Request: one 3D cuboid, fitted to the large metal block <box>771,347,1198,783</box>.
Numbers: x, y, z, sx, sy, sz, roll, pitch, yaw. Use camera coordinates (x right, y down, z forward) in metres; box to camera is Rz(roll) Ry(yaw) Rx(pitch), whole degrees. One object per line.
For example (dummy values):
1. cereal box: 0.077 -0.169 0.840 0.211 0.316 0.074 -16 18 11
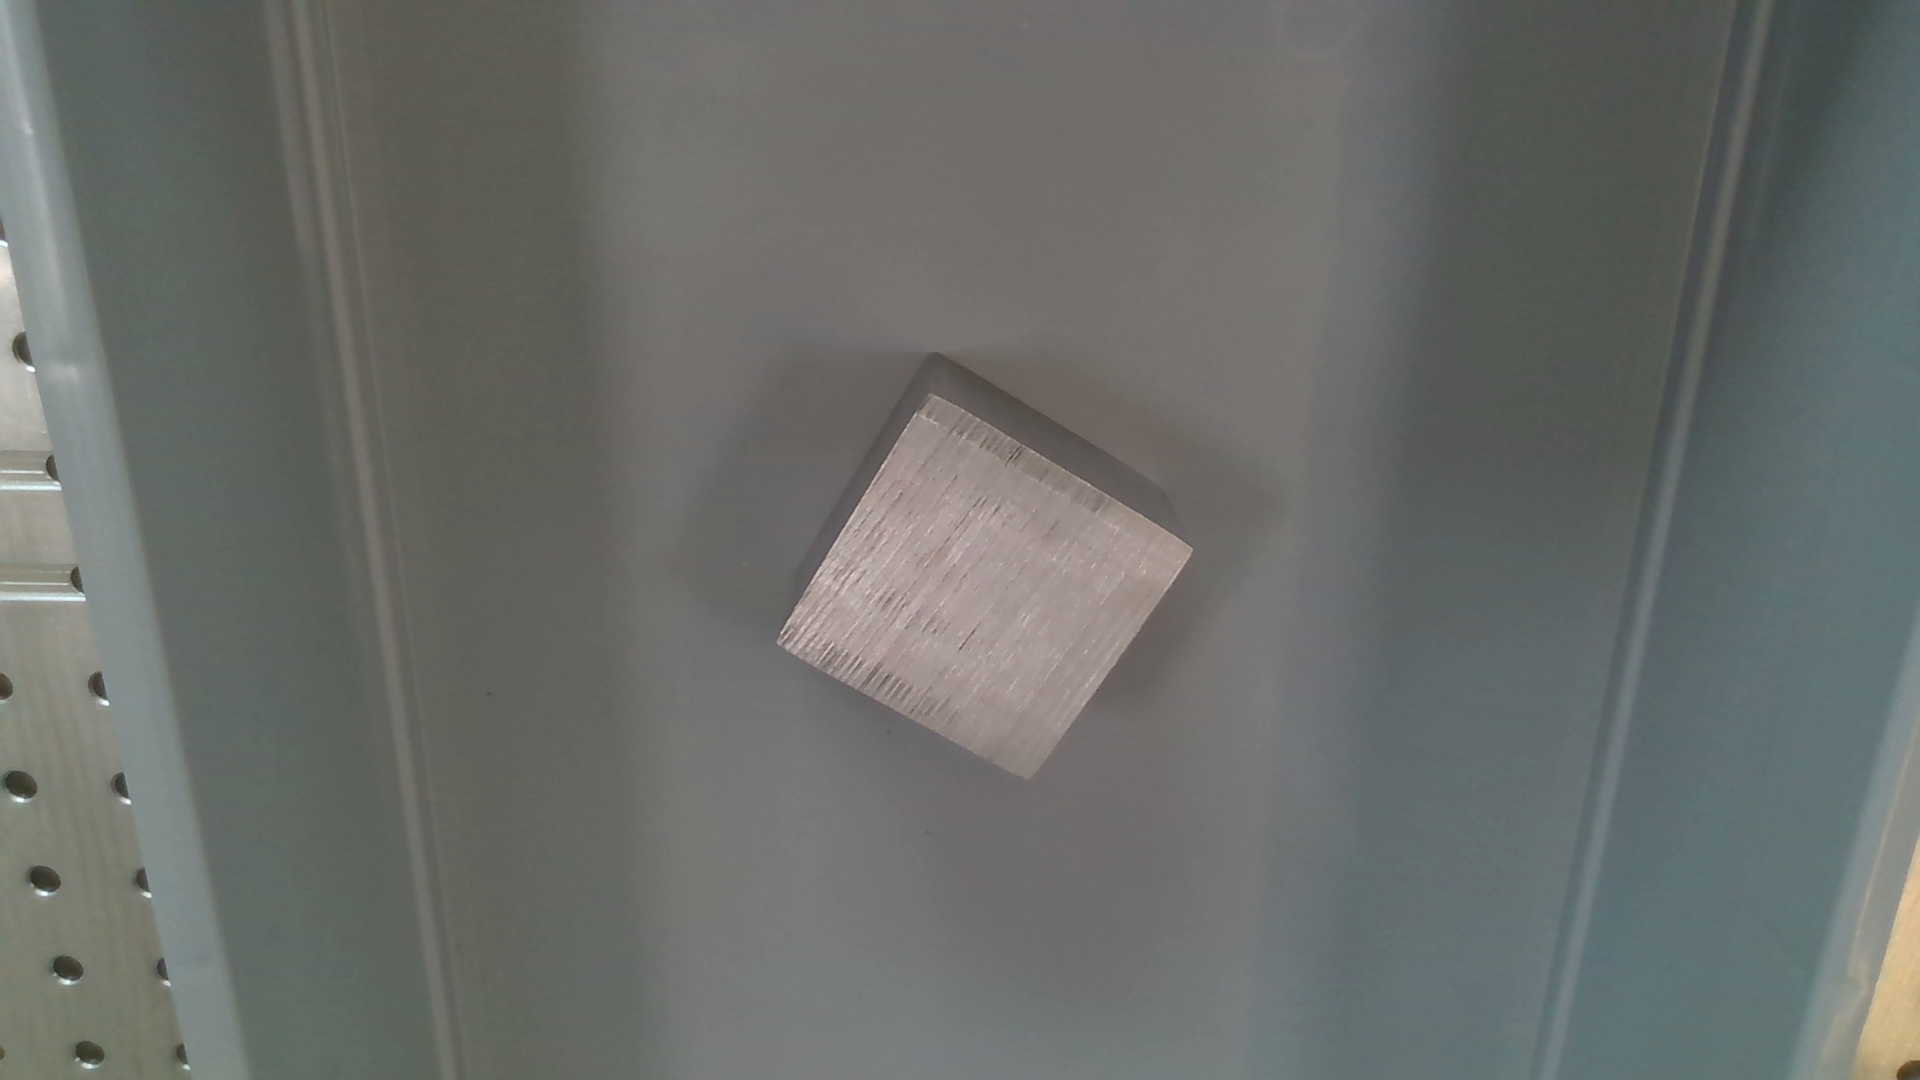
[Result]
1. large metal block: 0.005 0.006 0.379 0.080 0.050 0.080 30 108 -11
